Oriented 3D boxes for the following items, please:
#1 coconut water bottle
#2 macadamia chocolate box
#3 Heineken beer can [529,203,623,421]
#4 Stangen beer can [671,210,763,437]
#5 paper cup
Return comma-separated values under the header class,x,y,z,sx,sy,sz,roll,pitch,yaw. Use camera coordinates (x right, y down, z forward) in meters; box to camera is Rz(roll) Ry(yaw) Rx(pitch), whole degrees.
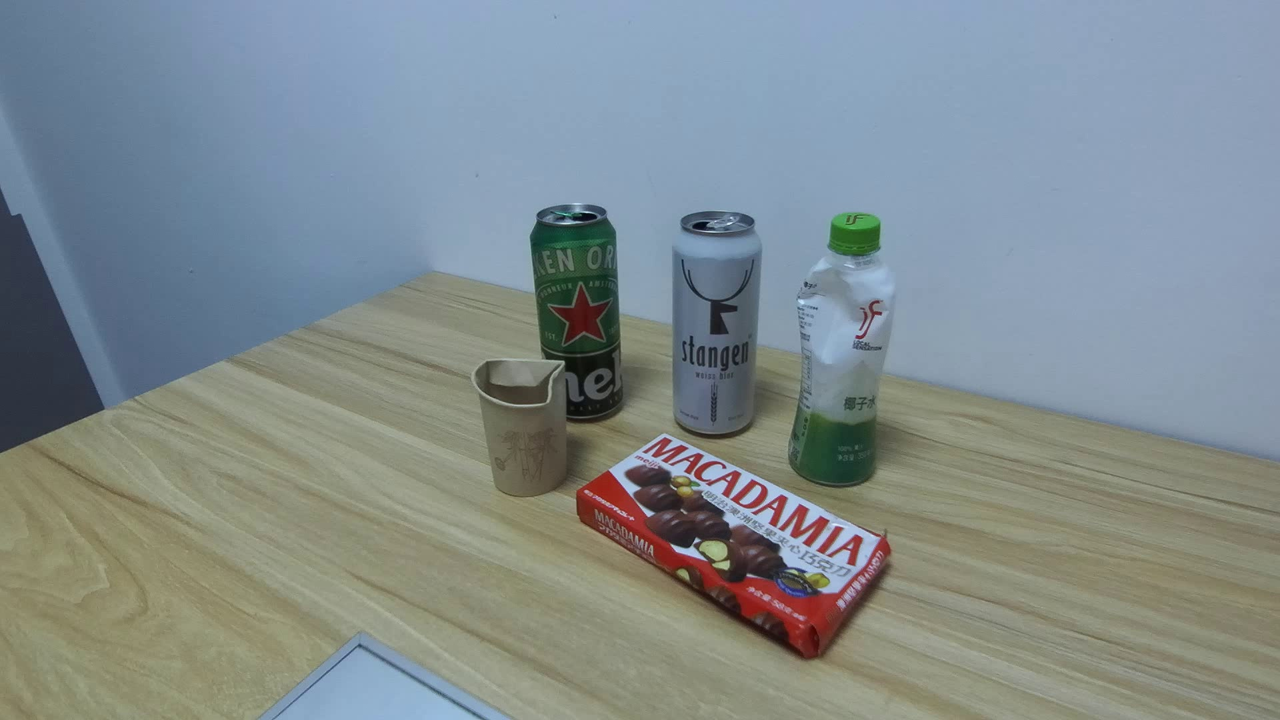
class,x,y,z,sx,sy,sz,roll,pitch,yaw
coconut water bottle,0.140,-0.006,0.482,0.069,0.187,0.069,-1,27,1
macadamia chocolate box,0.055,0.108,0.448,0.182,0.028,0.106,21,35,36
Heineken beer can,-0.049,-0.036,0.575,0.067,0.169,0.067,-1,27,1
Stangen beer can,0.059,-0.026,0.547,0.067,0.171,0.067,-1,28,1
paper cup,-0.085,0.049,0.505,0.066,0.084,0.071,3,27,8
